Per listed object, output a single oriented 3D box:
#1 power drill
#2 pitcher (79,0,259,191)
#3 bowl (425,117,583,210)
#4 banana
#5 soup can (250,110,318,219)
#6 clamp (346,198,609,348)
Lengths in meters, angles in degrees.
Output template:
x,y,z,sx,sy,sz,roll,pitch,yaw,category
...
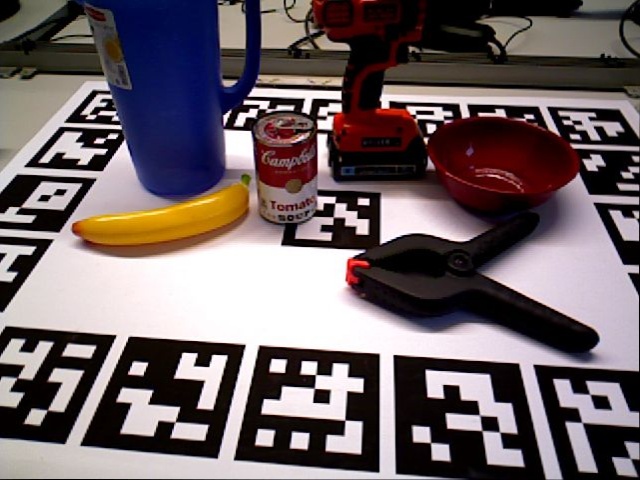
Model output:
x,y,z,sx,sy,sz,roll,pitch,yaw,category
0.087,-0.189,0.580,0.184,0.191,0.056,0,42,-1,power drill
-0.152,-0.181,0.564,0.186,0.248,0.132,-14,41,-15,pitcher
0.192,-0.083,0.588,0.161,0.056,0.159,-1,44,0,bowl
-0.162,-0.029,0.554,0.194,0.039,0.074,-14,35,-16,banana
-0.036,-0.082,0.559,0.067,0.104,0.067,0,34,-1,soup can
0.124,0.021,0.479,0.202,0.037,0.162,0,46,2,clamp
